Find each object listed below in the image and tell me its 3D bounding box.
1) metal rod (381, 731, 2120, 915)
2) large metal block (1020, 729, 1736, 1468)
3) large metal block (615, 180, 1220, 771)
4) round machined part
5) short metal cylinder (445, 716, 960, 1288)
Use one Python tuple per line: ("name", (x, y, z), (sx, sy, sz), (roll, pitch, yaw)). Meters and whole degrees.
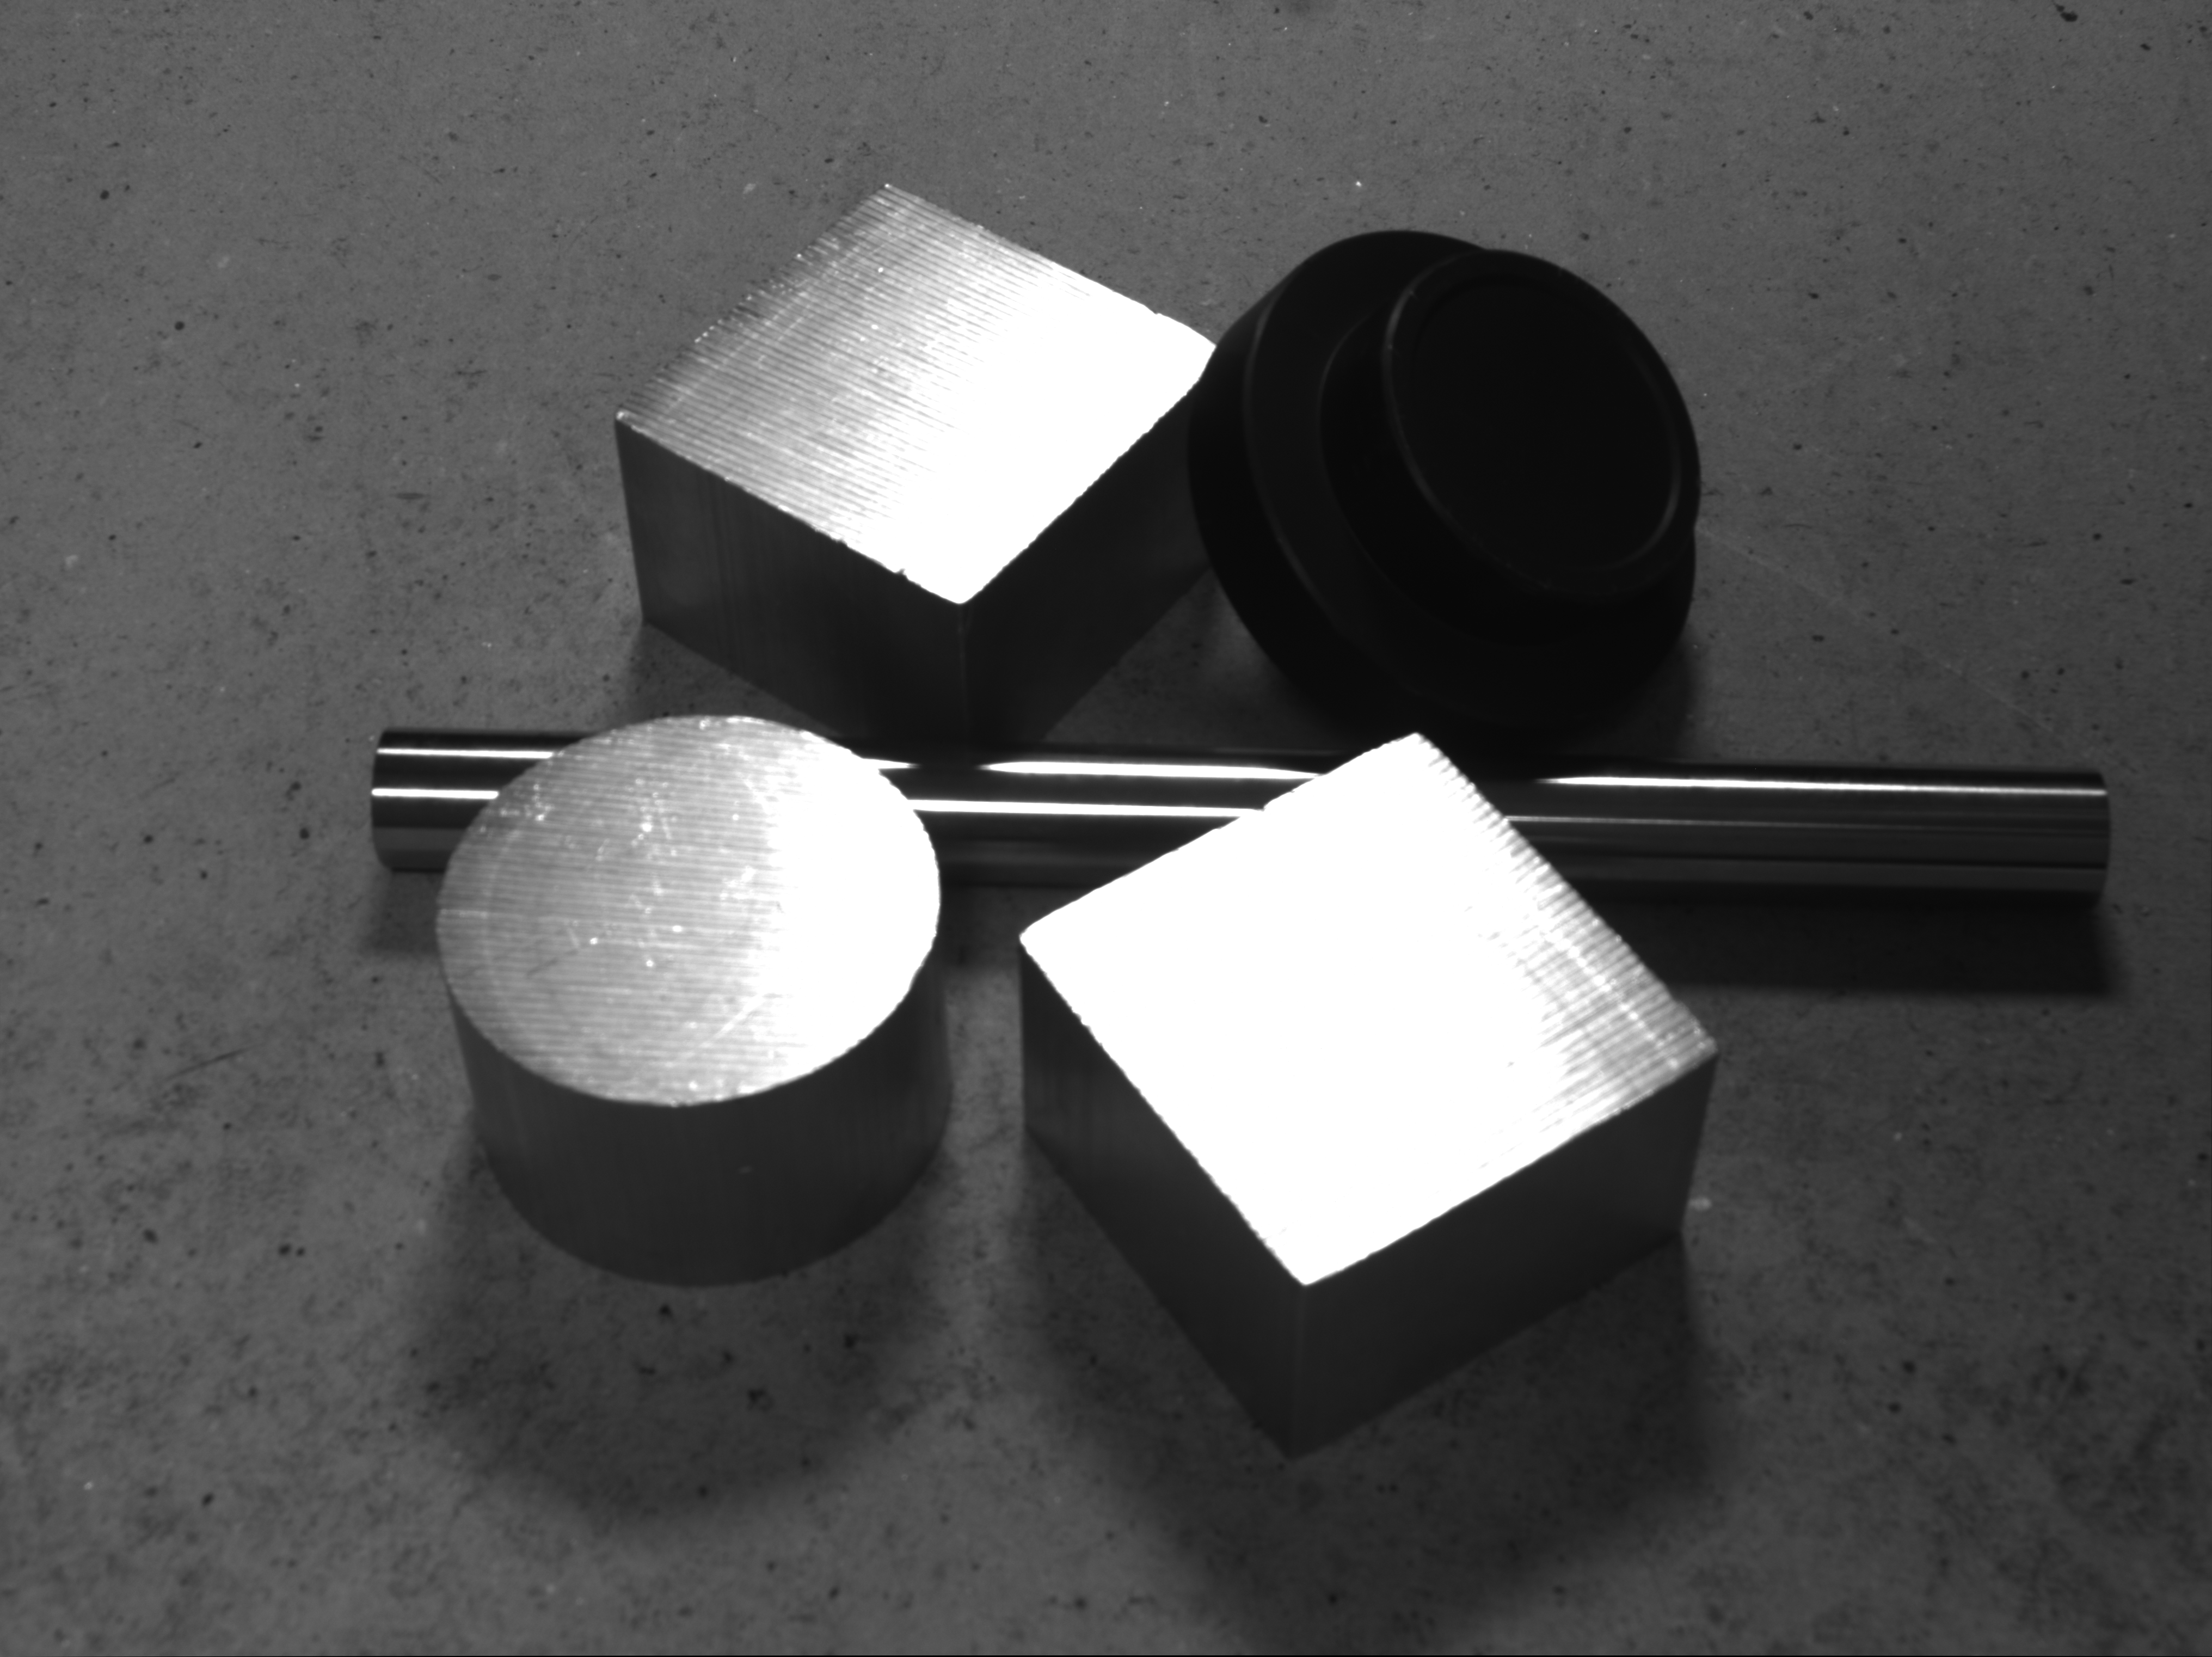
("metal rod", (0.025, -0.001, 0.645), (0.300, 0.025, 0.025), (1, 50, 1))
("large metal block", (0.042, 0.042, 0.590), (0.080, 0.050, 0.080), (-26, 55, -21))
("large metal block", (-0.032, -0.064, 0.677), (0.080, 0.050, 0.080), (30, 56, 23))
("round machined part", (0.068, -0.064, 0.655), (0.098, 0.042, 0.098), (12, 63, -24))
("short metal cylinder", (-0.065, 0.028, 0.602), (0.080, 0.050, 0.080), (0, 50, 0))
